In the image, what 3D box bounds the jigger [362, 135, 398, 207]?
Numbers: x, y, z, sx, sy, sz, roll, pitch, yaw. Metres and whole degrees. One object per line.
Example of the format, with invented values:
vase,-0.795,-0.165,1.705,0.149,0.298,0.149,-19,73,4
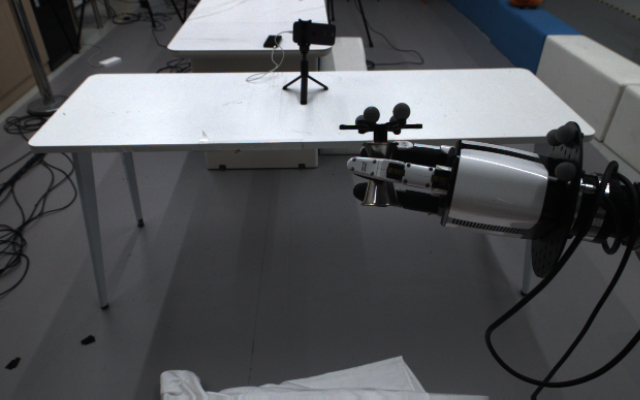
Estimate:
jigger,0.066,-0.029,0.532,0.043,0.071,0.043,-1,2,0
